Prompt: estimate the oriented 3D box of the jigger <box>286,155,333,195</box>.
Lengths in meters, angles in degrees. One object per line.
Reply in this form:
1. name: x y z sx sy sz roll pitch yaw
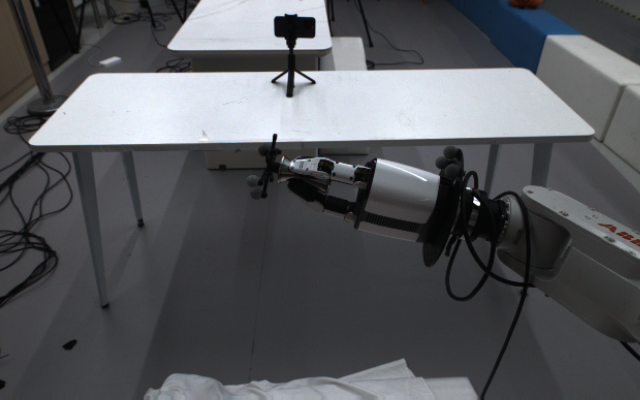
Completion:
1. jigger: -0.012 -0.038 0.648 0.071 0.043 0.043 13 36 4
